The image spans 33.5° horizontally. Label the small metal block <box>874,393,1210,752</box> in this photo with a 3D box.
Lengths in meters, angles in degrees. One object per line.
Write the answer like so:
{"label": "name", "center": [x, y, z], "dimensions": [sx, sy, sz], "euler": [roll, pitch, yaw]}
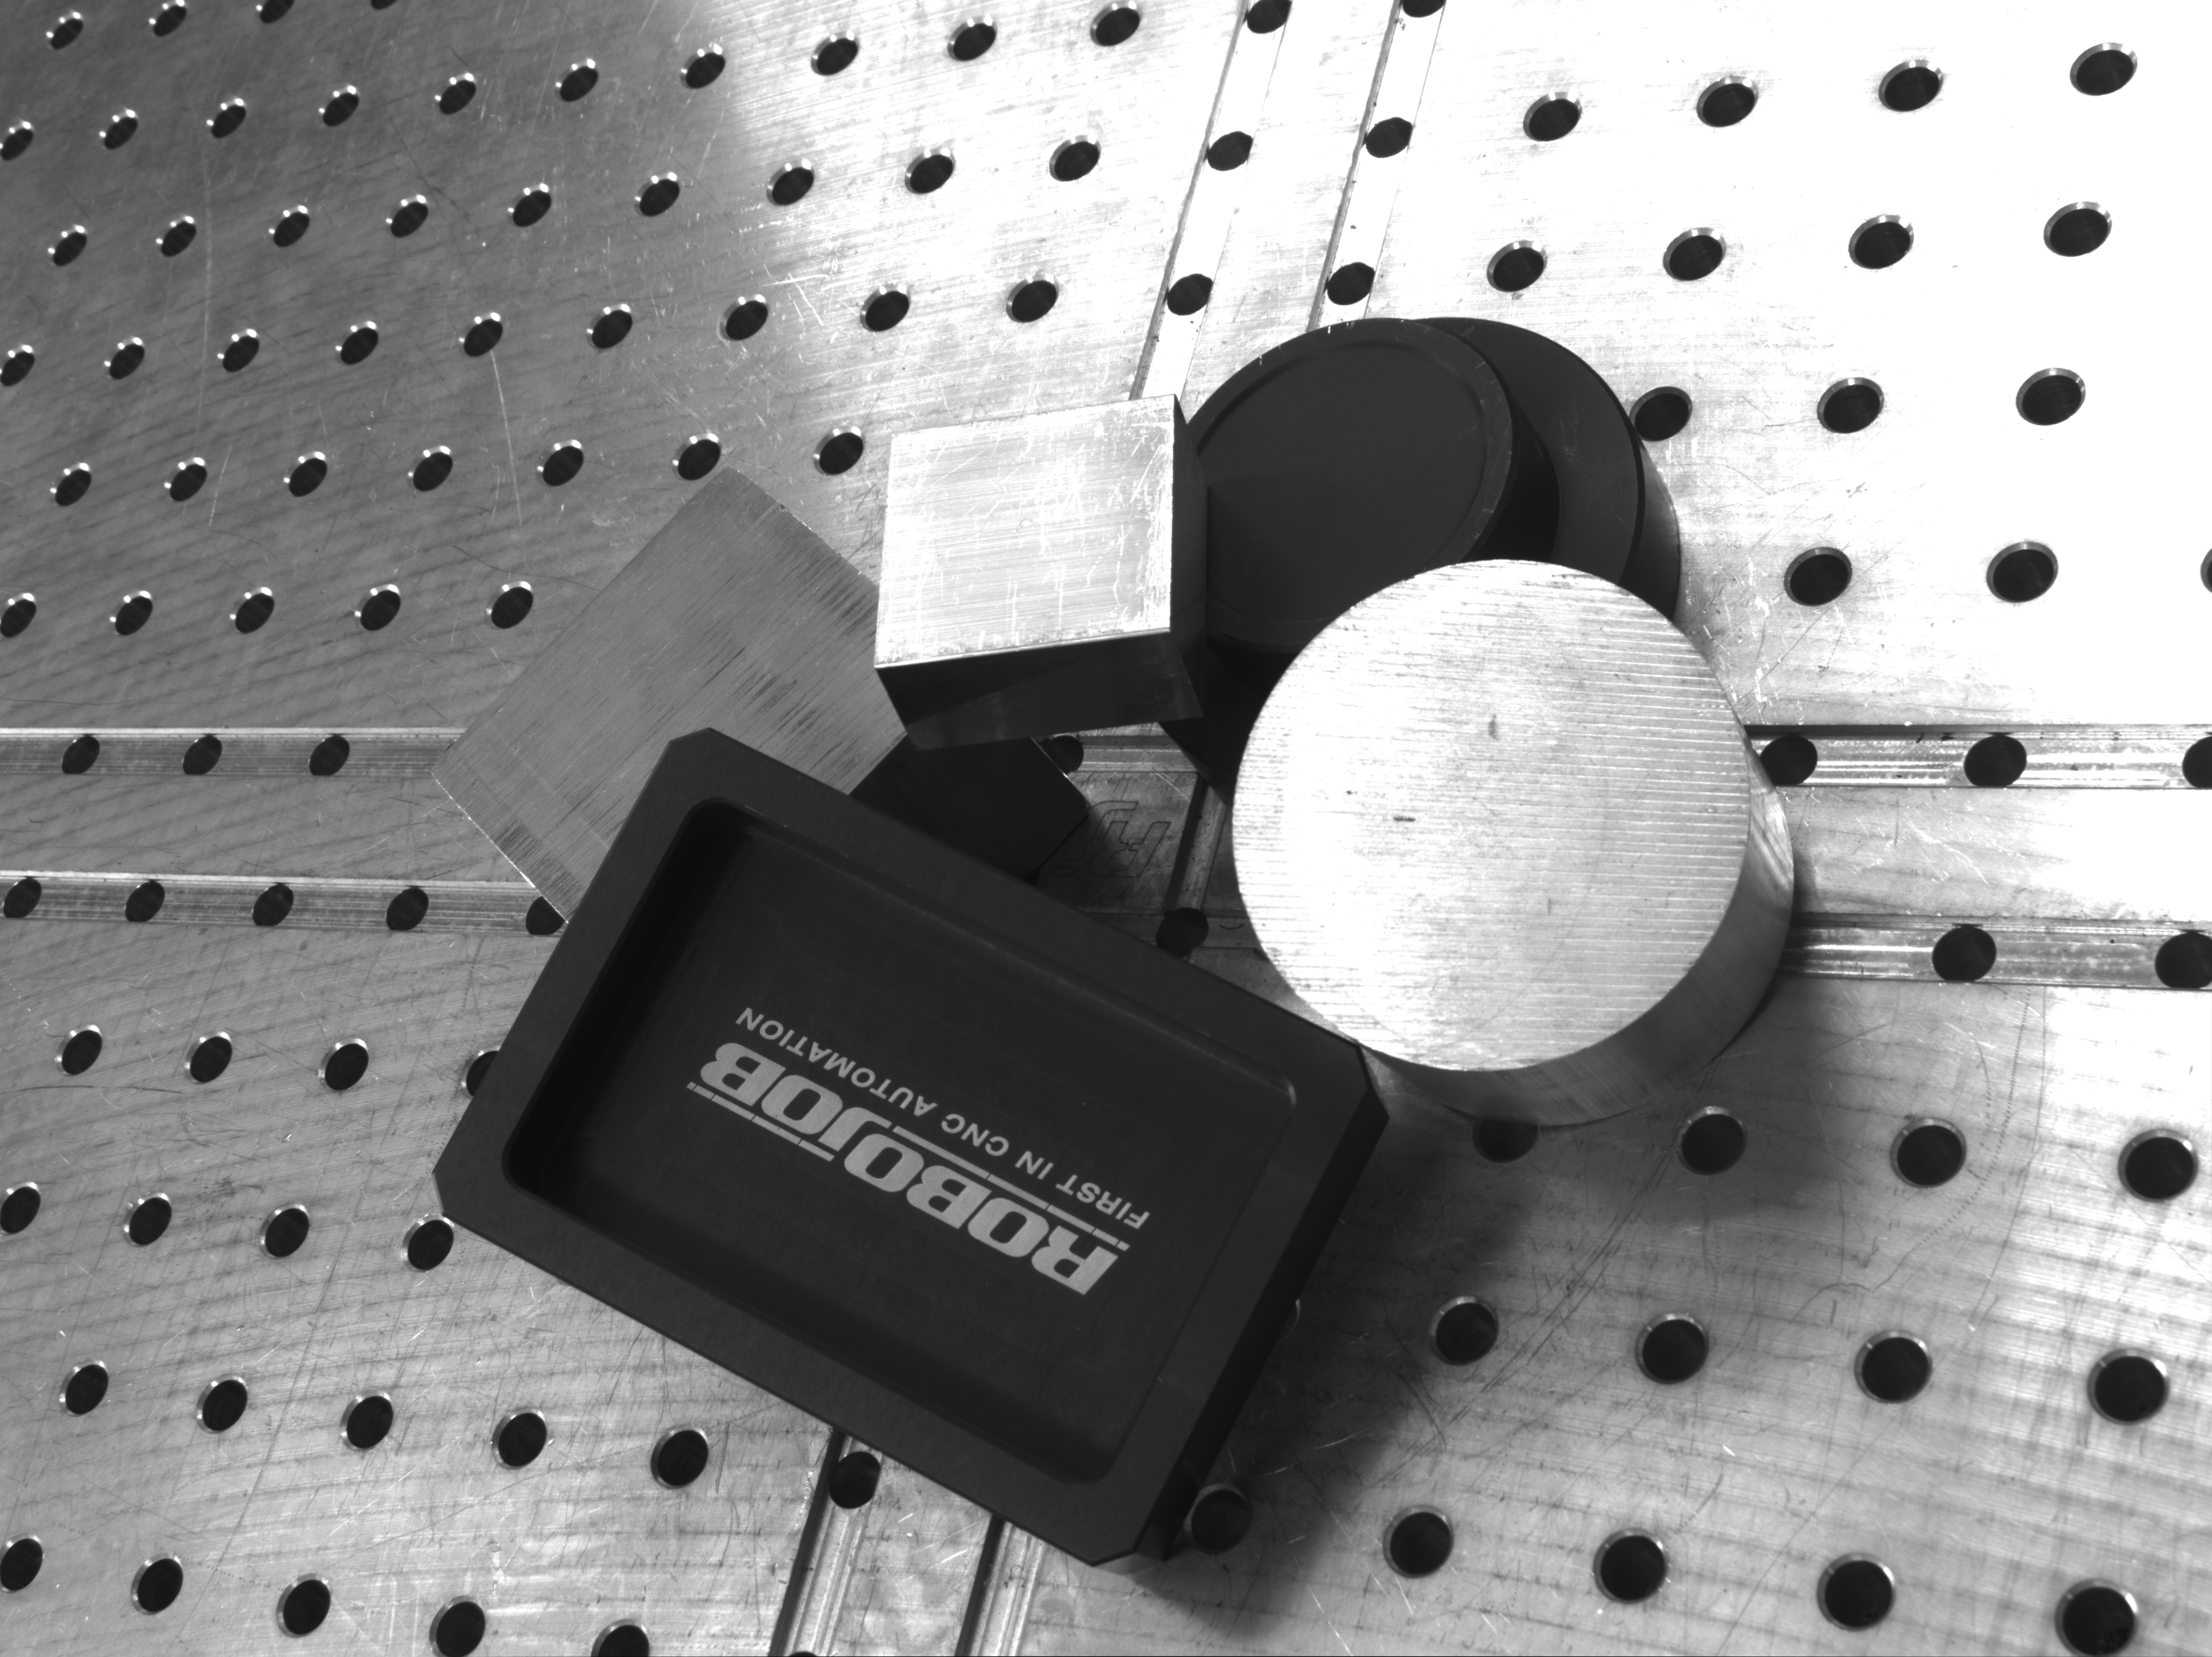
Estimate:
{"label": "small metal block", "center": [-0.010, -0.043, 0.621], "dimensions": [0.050, 0.025, 0.050], "euler": [-6, 55, 12]}

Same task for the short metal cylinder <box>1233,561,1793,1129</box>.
{"label": "short metal cylinder", "center": [0.065, 0.004, 0.580], "dimensions": [0.080, 0.050, 0.080], "euler": [-4, 74, 16]}

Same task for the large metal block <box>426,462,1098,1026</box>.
{"label": "large metal block", "center": [-0.063, -0.007, 0.671], "dimensions": [0.080, 0.050, 0.080], "euler": [-46, 51, -4]}

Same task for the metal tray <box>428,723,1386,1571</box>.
{"label": "metal tray", "center": [-0.032, 0.051, 0.594], "dimensions": [0.130, 0.030, 0.090], "euler": [26, 82, 14]}

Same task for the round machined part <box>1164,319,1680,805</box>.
{"label": "round machined part", "center": [0.047, -0.049, 0.643], "dimensions": [0.098, 0.042, 0.098], "euler": [-14, 56, 21]}
